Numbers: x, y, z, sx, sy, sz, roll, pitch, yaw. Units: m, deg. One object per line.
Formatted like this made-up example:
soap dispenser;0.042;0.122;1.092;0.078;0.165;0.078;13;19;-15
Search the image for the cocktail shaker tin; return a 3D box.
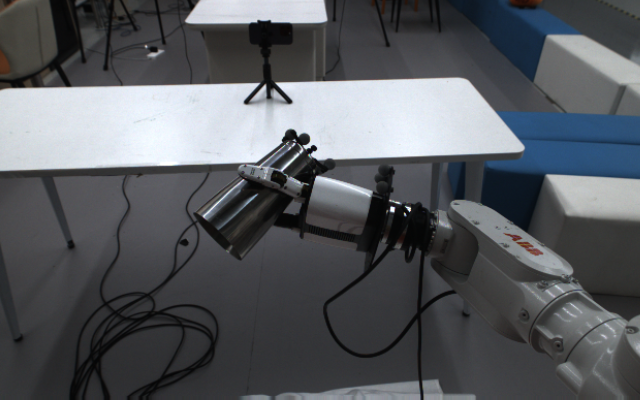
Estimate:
cocktail shaker tin;-0.085;-0.009;0.686;0.093;0.093;0.170;31;66;35
